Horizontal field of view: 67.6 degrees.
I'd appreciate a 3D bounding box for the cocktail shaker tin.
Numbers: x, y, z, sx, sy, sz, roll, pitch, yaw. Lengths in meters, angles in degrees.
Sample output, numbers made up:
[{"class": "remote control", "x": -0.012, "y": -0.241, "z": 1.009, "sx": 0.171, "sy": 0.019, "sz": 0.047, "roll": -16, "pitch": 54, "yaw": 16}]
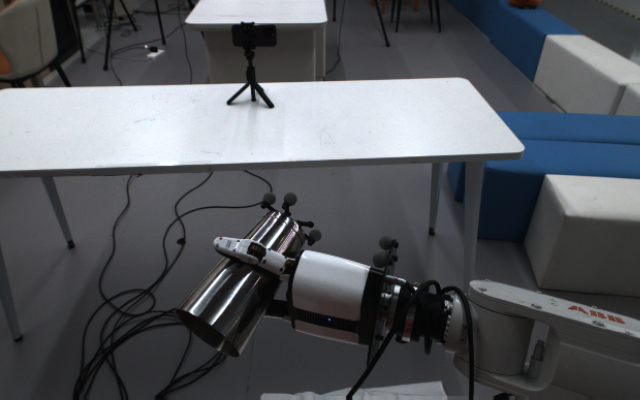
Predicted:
[{"class": "cocktail shaker tin", "x": -0.087, "y": 0.093, "z": 0.601, "sx": 0.093, "sy": 0.093, "sz": 0.170, "roll": 19, "pitch": 54, "yaw": 23}]
